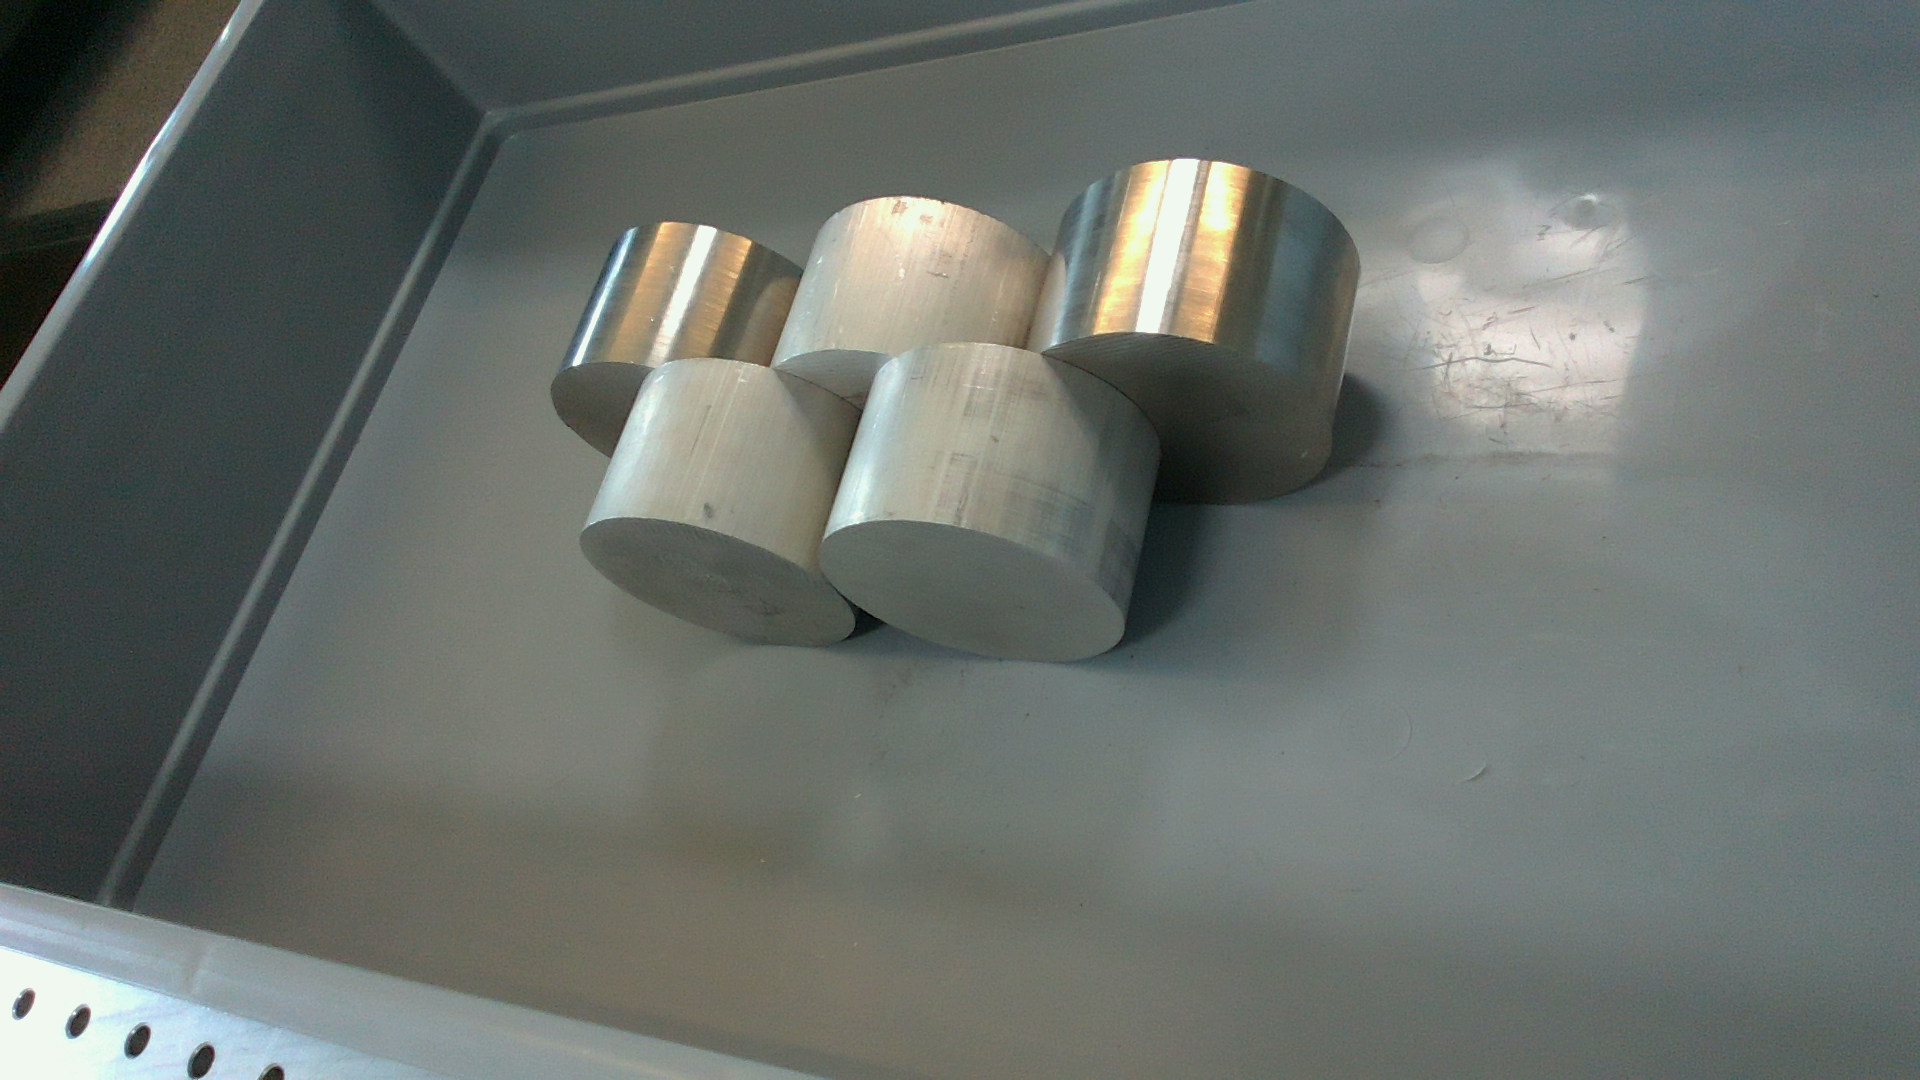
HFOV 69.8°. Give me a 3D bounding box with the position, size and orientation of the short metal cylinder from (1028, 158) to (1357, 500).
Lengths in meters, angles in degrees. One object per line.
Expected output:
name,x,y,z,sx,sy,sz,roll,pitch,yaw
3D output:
short metal cylinder,0.059,-0.052,0.357,0.080,0.080,0.050,2,62,29

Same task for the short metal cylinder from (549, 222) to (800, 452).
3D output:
short metal cylinder,-0.081,-0.054,0.434,0.080,0.080,0.050,1,62,29

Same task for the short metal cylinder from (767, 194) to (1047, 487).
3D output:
short metal cylinder,-0.011,-0.053,0.395,0.080,0.080,0.050,1,62,29

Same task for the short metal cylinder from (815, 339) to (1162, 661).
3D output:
short metal cylinder,0.008,-0.008,0.357,0.080,0.080,0.050,1,62,29

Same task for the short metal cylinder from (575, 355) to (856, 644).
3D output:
short metal cylinder,-0.063,-0.009,0.396,0.080,0.080,0.050,1,62,29
